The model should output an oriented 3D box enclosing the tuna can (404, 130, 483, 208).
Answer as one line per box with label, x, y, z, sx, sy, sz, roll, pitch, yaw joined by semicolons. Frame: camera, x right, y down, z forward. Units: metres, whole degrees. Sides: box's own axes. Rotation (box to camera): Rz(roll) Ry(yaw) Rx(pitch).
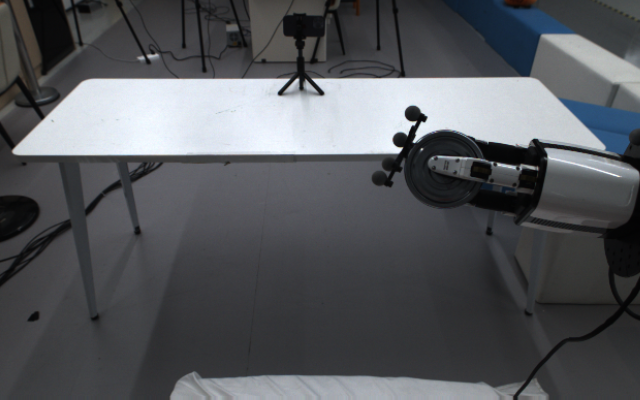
tuna can;0.138;-0.036;0.530;0.085;0.085;0.034;9;3;10
